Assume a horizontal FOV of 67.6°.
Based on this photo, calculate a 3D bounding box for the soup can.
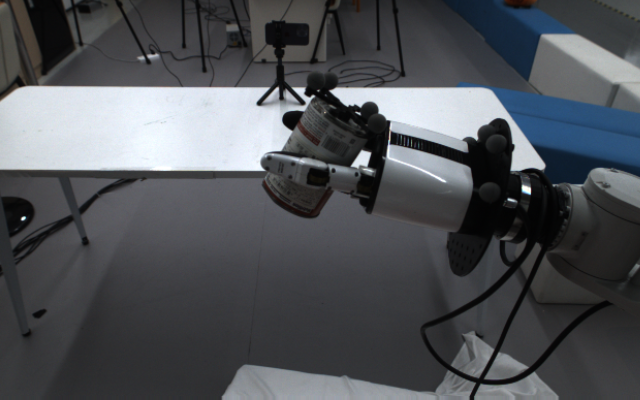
[{"bbox_3d":[-0.002,-0.042,0.480,0.067,0.101,0.067,28,21,-12],"label":"soup can"}]
